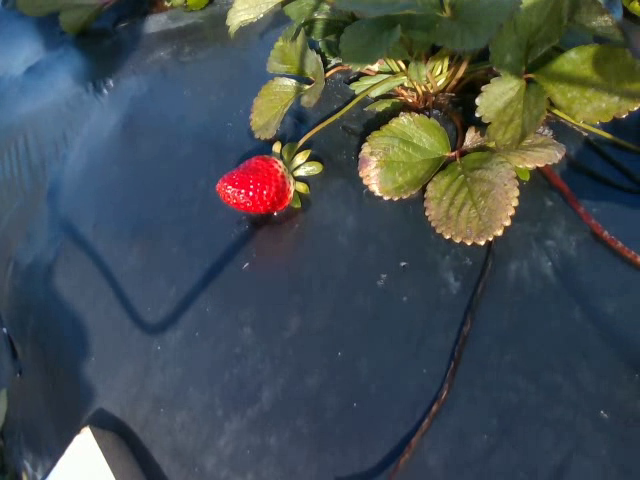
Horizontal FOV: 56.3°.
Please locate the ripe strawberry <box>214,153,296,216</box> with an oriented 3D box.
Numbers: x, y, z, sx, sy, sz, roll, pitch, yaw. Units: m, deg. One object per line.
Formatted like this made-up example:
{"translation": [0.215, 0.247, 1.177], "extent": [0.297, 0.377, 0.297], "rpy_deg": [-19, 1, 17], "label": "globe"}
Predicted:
{"translation": [-0.028, -0.021, 0.243], "extent": [0.028, 0.031, 0.041], "rpy_deg": [-1, 6, 40], "label": "ripe strawberry"}
